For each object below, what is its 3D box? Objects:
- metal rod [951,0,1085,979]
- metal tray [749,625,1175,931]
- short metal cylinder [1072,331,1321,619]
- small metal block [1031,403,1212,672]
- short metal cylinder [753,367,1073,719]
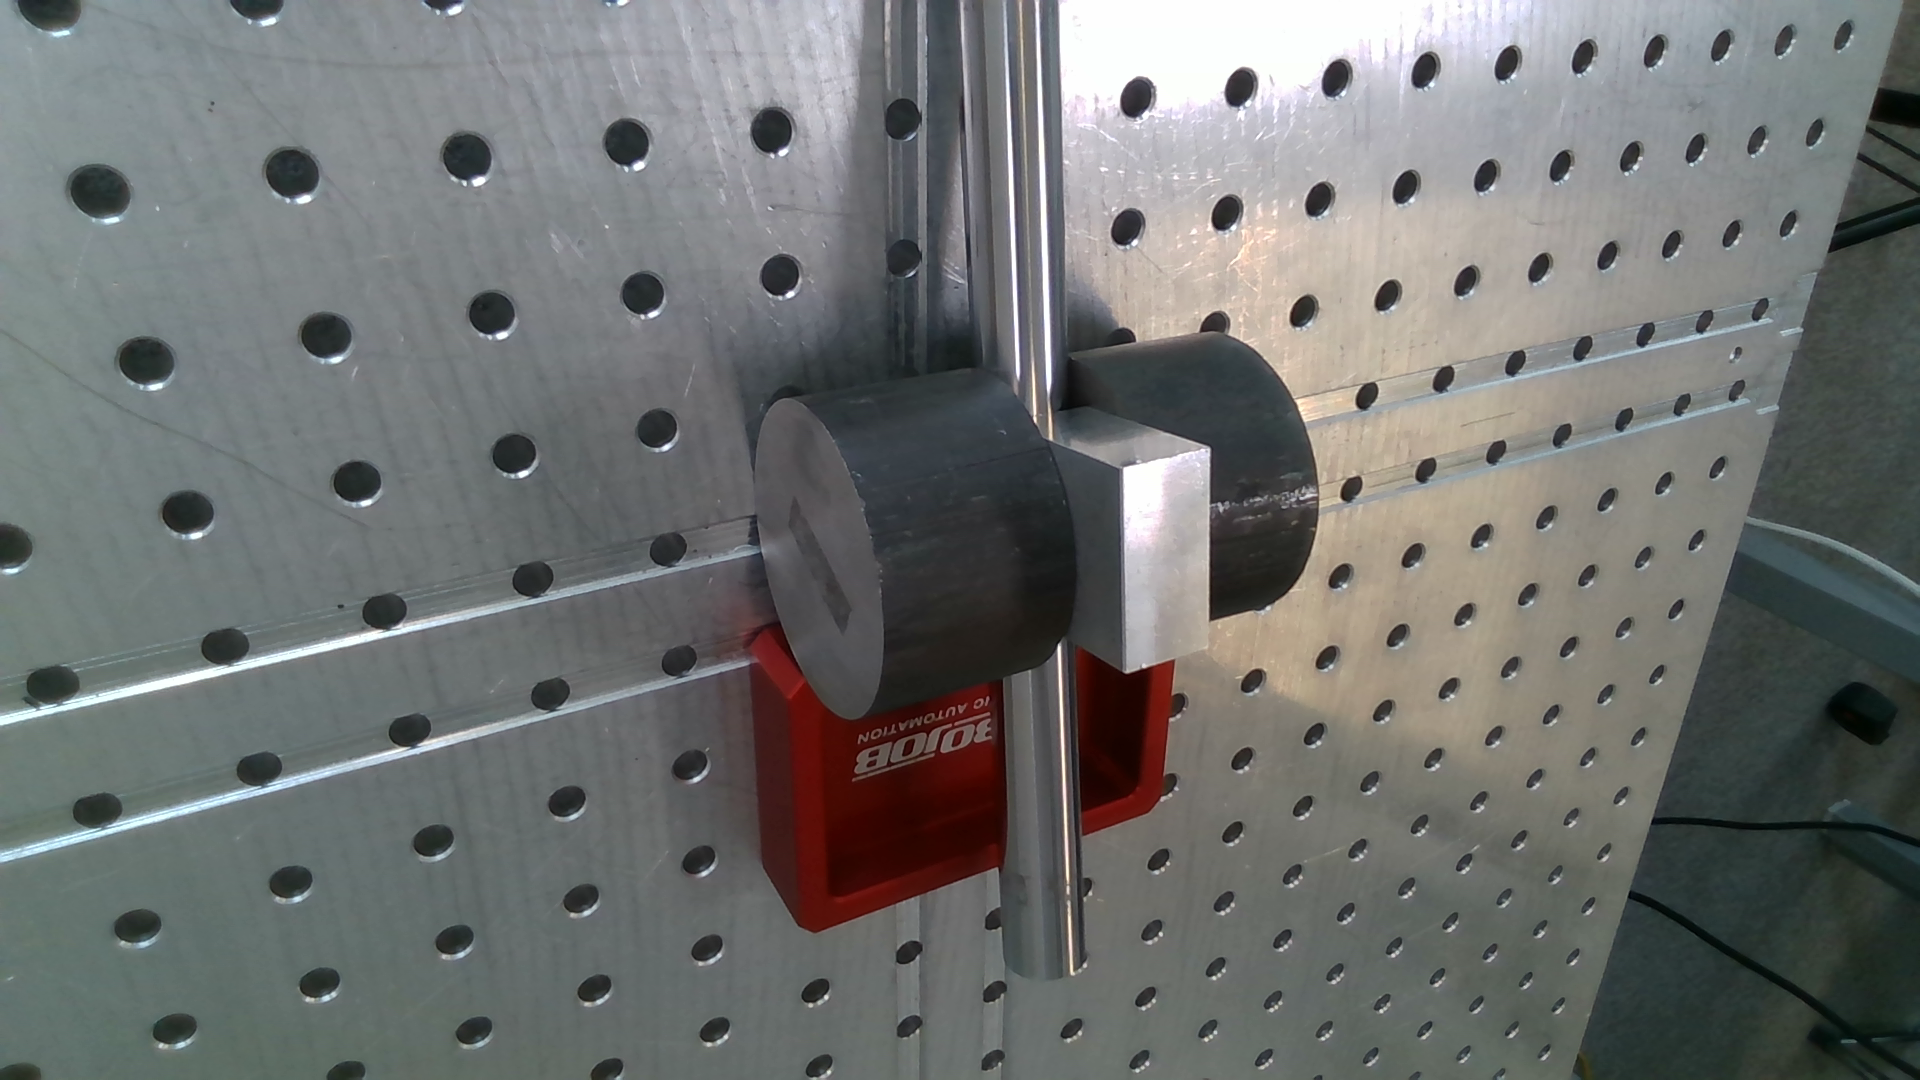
[{"bbox_3d":[0.017,-0.016,0.365,0.025,0.025,0.301,-13,112,-25],"label":"metal rod"},{"bbox_3d":[0.004,0.058,0.423,0.130,0.030,0.090,-13,121,-25],"label":"metal tray"},{"bbox_3d":[0.053,-0.014,0.380,0.050,0.080,0.080,-14,121,-25],"label":"short metal cylinder"},{"bbox_3d":[0.036,-0.003,0.336,0.025,0.050,0.050,-14,113,-25],"label":"small metal block"},{"bbox_3d":[-0.014,0.000,0.348,0.050,0.080,0.080,-13,121,-26],"label":"short metal cylinder"}]
